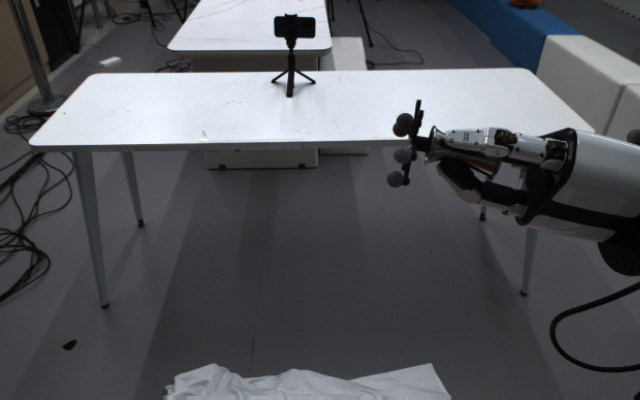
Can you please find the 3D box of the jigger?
[{"bbox_3d":[0.150,-0.052,0.487,0.071,0.043,0.043,11,35,3],"label":"jigger"}]
